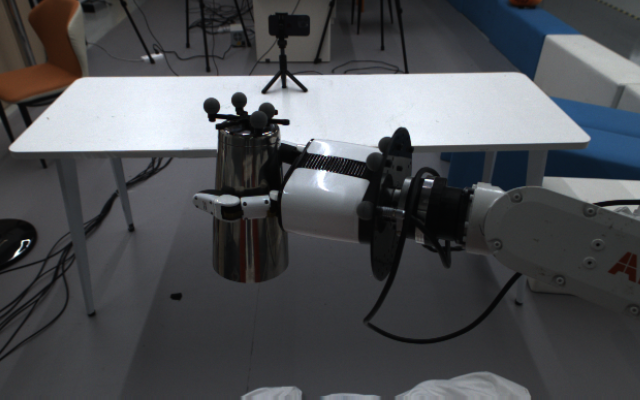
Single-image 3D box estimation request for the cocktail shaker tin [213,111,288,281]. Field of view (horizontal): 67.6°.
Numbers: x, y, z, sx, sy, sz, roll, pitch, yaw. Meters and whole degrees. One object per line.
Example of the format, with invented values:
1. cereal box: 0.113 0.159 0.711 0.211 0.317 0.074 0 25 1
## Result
1. cocktail shaker tin: -0.079 -0.002 0.553 0.093 0.170 0.093 2 25 -1
